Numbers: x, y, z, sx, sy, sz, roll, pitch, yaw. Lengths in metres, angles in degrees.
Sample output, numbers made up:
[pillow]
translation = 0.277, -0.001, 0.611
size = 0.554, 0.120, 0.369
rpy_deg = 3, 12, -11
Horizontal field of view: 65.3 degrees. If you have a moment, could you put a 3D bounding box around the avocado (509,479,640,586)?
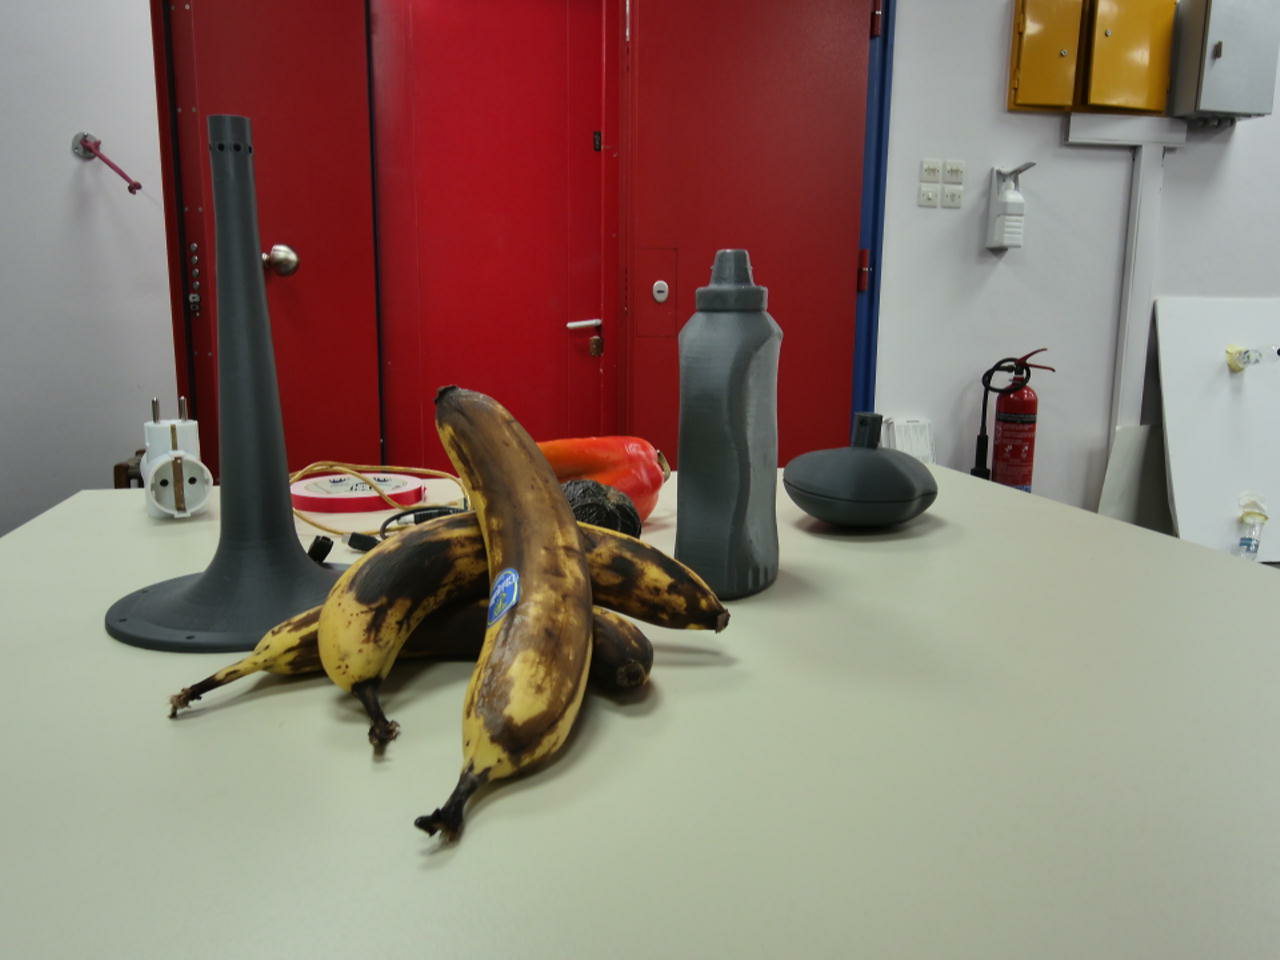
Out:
[avocado]
translation = -0.040, 0.031, 0.599
size = 0.092, 0.062, 0.062
rpy_deg = -6, 10, -36
